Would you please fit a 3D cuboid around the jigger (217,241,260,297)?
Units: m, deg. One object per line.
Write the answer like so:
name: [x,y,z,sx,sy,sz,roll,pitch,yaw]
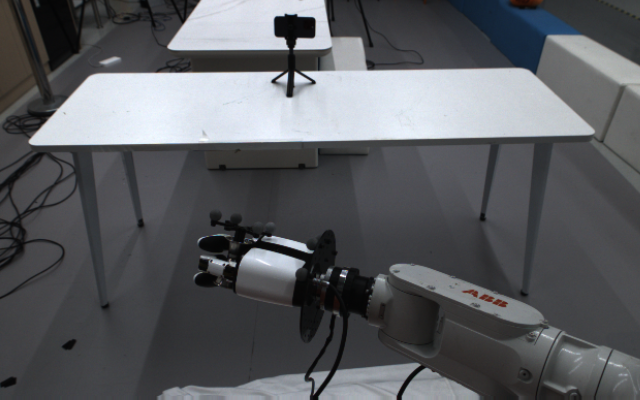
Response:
jigger: [-0.123,0.091,0.705,0.043,0.071,0.043,14,1,0]
